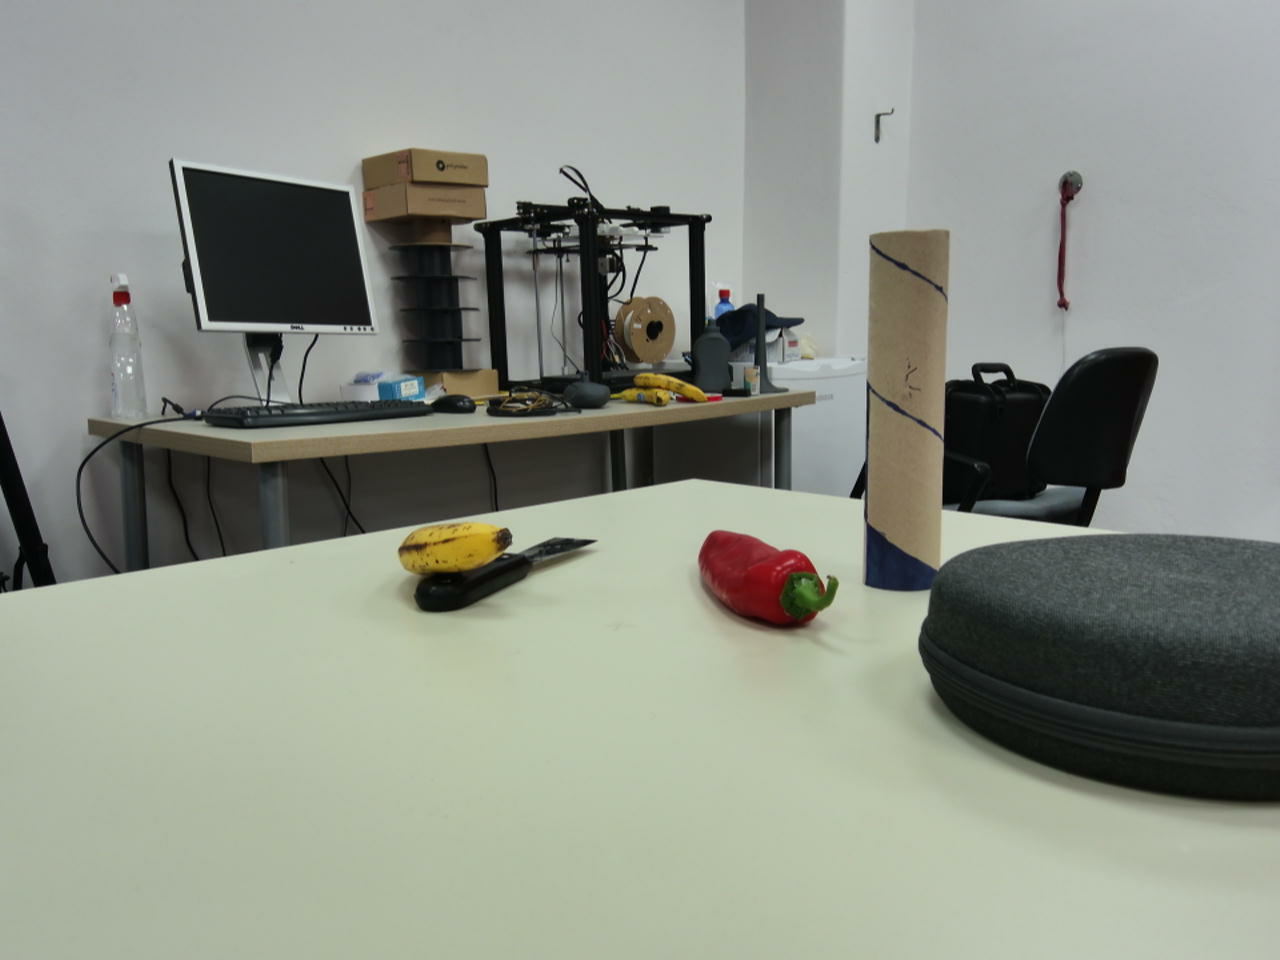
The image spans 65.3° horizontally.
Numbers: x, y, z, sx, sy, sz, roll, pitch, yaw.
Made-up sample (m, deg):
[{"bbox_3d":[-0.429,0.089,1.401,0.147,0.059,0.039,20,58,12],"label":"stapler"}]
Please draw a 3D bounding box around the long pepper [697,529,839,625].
[{"bbox_3d":[0.070,0.055,0.620,0.050,0.043,0.211,-1,7,-11],"label":"long pepper"}]
